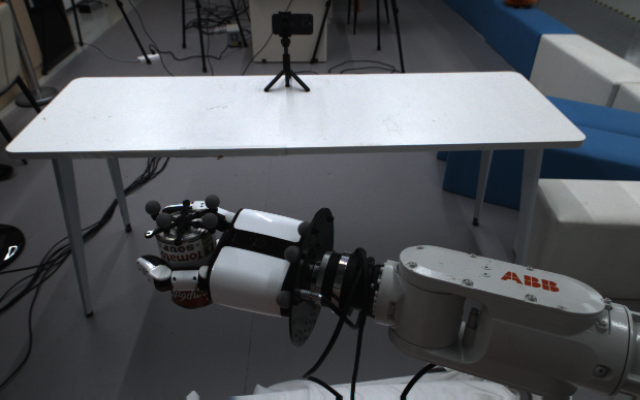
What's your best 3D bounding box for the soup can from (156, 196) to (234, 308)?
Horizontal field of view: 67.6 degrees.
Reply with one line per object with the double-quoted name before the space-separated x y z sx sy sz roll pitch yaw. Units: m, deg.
"soup can" -0.154 0.072 0.586 0.067 0.101 0.067 -2 32 1
